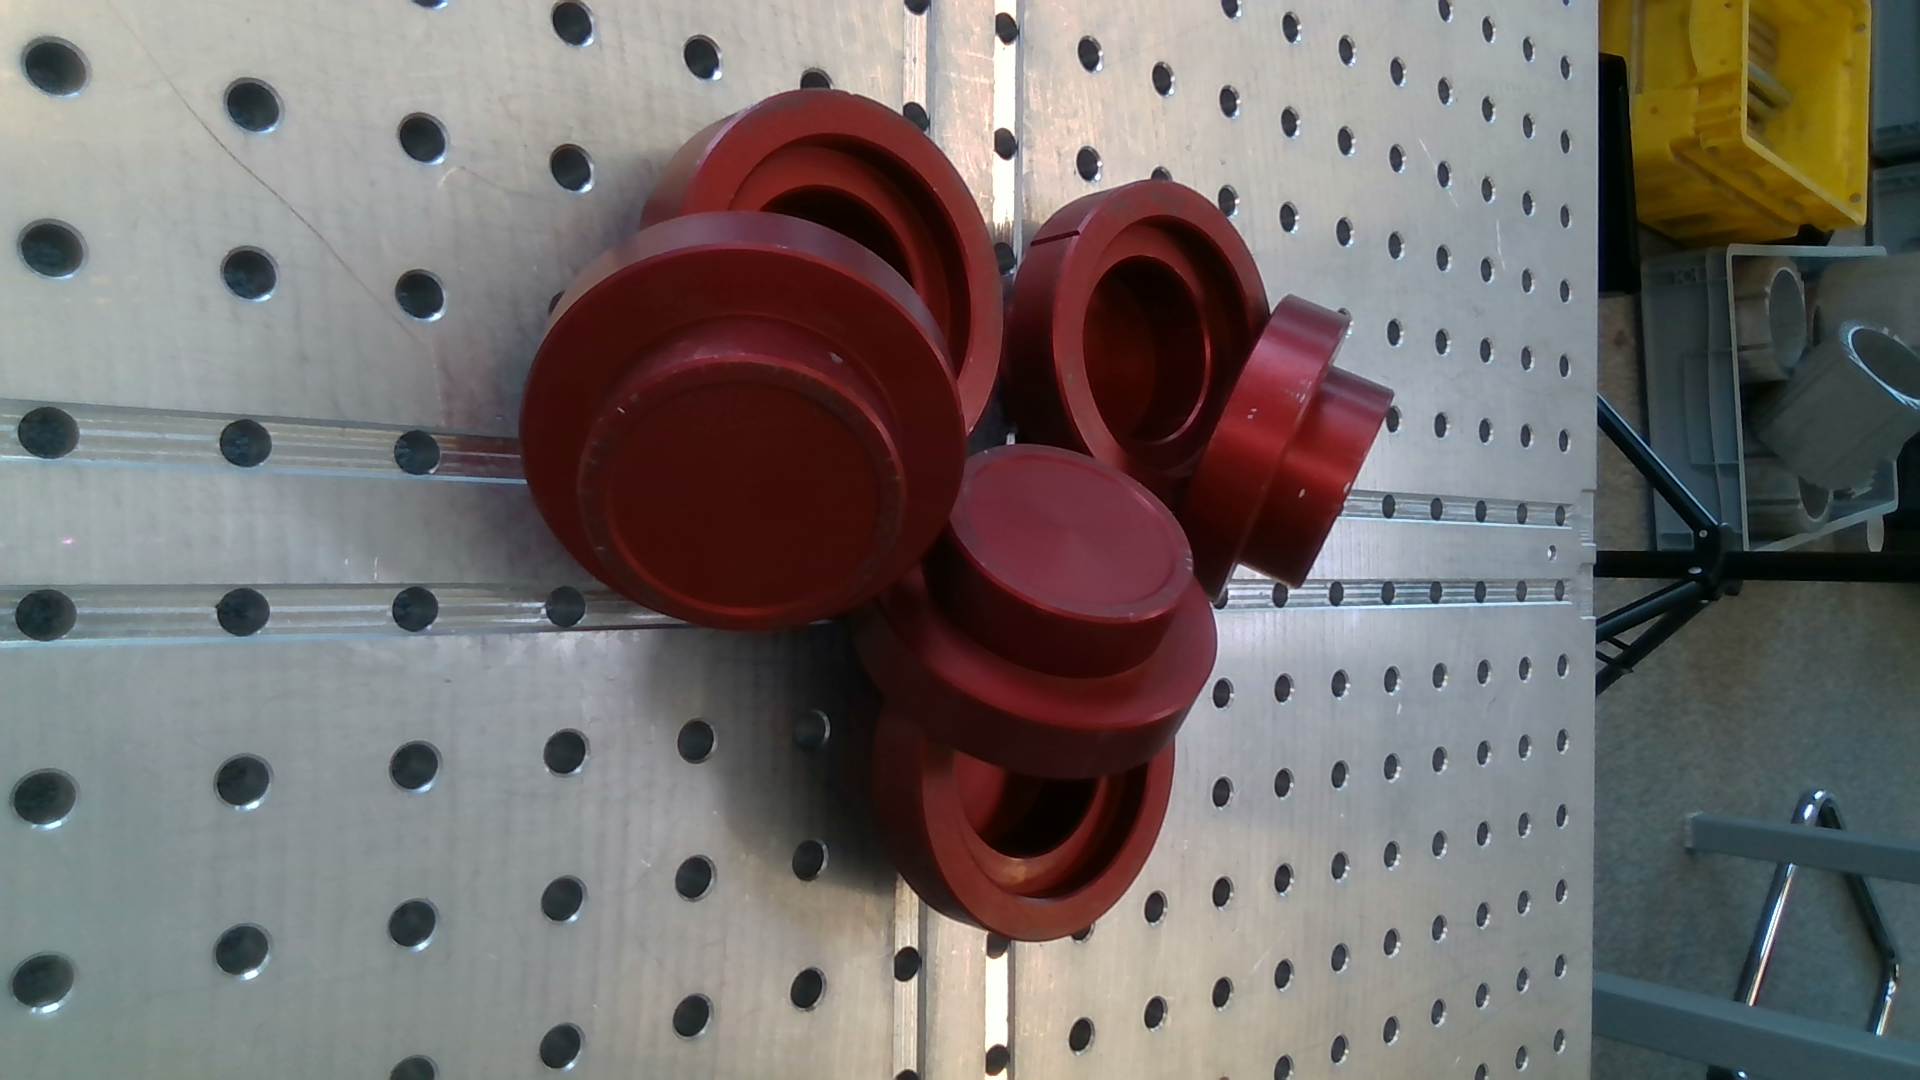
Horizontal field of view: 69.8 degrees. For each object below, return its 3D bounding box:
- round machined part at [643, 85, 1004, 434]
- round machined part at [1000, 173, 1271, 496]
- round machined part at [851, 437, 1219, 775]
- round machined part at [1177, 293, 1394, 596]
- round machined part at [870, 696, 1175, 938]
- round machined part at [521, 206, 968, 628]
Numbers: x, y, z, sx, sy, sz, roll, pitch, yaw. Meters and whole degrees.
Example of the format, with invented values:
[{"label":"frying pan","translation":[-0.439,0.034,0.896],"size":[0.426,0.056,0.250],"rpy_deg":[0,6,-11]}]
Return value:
[{"label":"round machined part","translation":[-0.038,-0.060,0.349],"size":[0.098,0.042,0.098],"rpy_deg":[0,90,-40]},{"label":"round machined part","translation":[0.050,-0.059,0.424],"size":[0.098,0.042,0.098],"rpy_deg":[0,90,-40]},{"label":"round machined part","translation":[0.023,0.010,0.363],"size":[0.098,0.098,0.042],"rpy_deg":[-18,143,-39]},{"label":"round machined part","translation":[0.101,-0.024,0.432],"size":[0.098,0.042,0.098],"rpy_deg":[-60,168,-21]},{"label":"round machined part","translation":[0.014,0.060,0.394],"size":[0.098,0.042,0.098],"rpy_deg":[0,90,-40]},{"label":"round machined part","translation":[-0.047,-0.020,0.306],"size":[0.098,0.042,0.098],"rpy_deg":[-3,124,-5]}]
